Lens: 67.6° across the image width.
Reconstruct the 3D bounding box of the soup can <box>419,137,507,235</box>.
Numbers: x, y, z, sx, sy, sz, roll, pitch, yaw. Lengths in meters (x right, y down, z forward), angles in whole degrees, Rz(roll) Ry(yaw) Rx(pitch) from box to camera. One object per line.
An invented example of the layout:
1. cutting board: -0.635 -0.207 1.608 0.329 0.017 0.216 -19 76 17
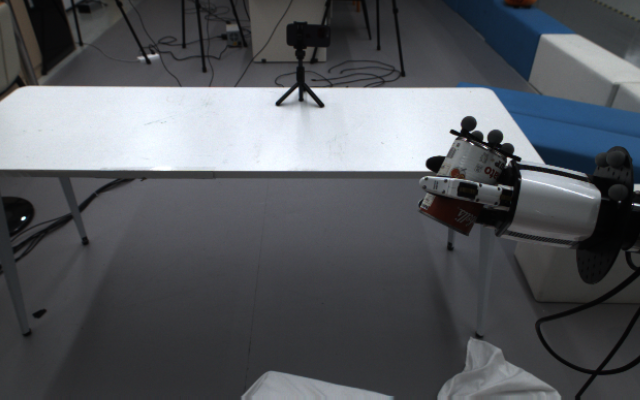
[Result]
1. soup can: 0.173 -0.017 0.583 0.067 0.101 0.067 26 5 -2
